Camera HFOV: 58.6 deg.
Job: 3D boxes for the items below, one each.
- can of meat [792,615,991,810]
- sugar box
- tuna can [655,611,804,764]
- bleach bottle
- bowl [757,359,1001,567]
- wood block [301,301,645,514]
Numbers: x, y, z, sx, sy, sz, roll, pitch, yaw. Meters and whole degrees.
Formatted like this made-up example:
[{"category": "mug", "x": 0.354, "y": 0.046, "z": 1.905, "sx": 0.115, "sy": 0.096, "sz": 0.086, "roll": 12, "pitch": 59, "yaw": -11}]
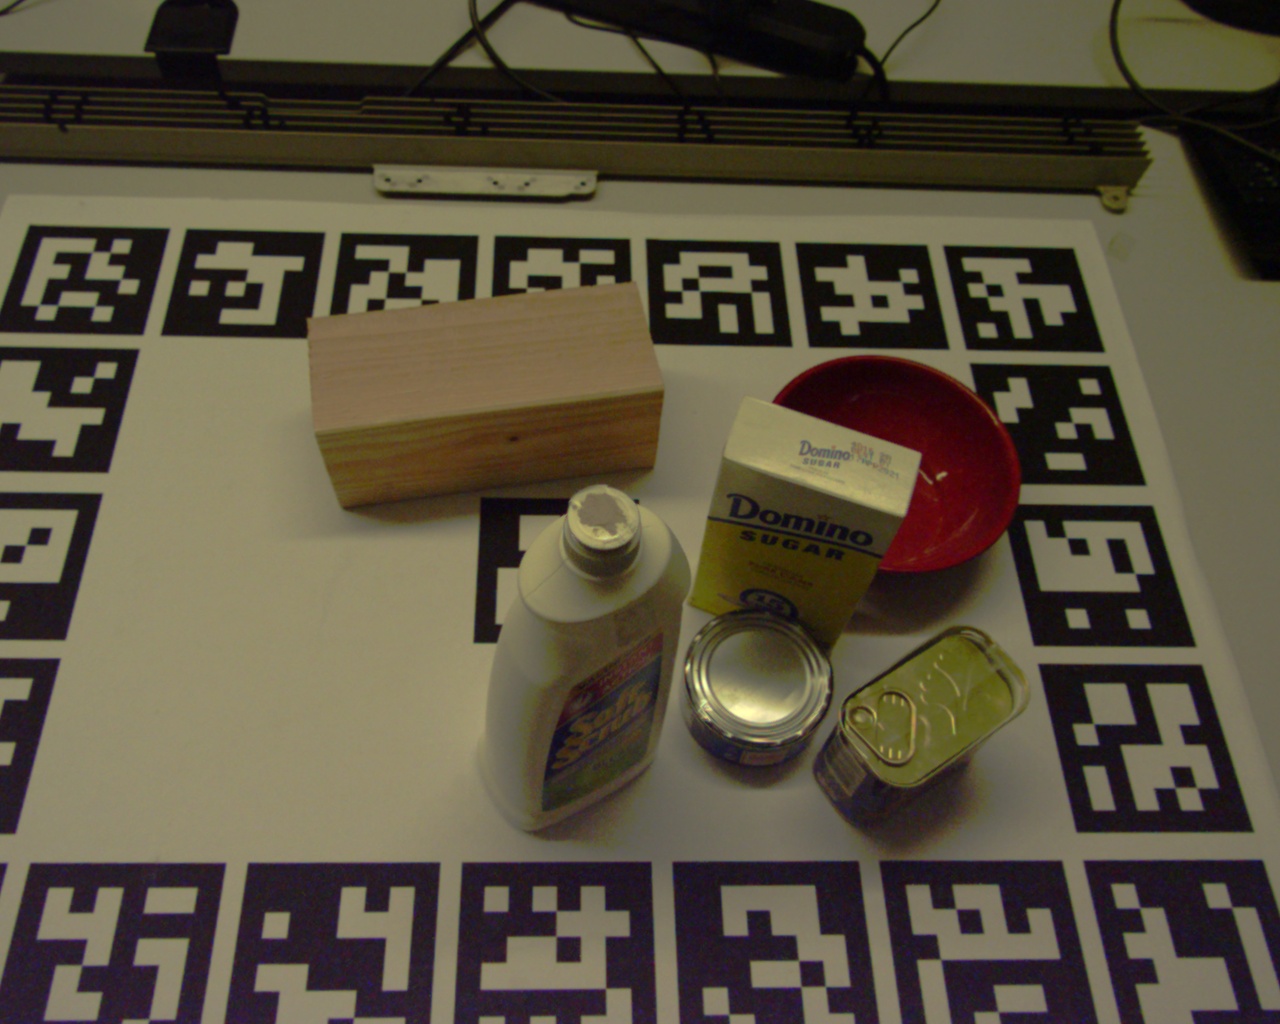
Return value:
[{"category": "can of meat", "x": 0.139, "y": 0.117, "z": 0.652, "sx": 0.101, "sy": 0.083, "sz": 0.058, "roll": -27, "pitch": 61, "yaw": -20}, {"category": "sugar box", "x": 0.077, "y": 0.015, "z": 0.650, "sx": 0.093, "sy": 0.176, "sz": 0.045, "roll": 17, "pitch": 61, "yaw": 10}, {"category": "tuna can", "x": 0.052, "y": 0.104, "z": 0.677, "sx": 0.085, "sy": 0.033, "sz": 0.086, "roll": 1, "pitch": 62, "yaw": -2}, {"category": "bleach bottle", "x": -0.040, "y": 0.071, "z": 0.570, "sx": 0.102, "sy": 0.250, "sz": 0.068, "roll": -23, "pitch": 62, "yaw": -16}, {"category": "bowl", "x": 0.149, "y": -0.022, "z": 0.750, "sx": 0.162, "sy": 0.055, "sz": 0.162, "roll": -1, "pitch": 58, "yaw": 1}, {"category": "wood block", "x": -0.110, "y": -0.069, "z": 0.749, "sx": 0.205, "sy": 0.090, "sz": 0.091, "roll": -8, "pitch": 64, "yaw": -9}]
